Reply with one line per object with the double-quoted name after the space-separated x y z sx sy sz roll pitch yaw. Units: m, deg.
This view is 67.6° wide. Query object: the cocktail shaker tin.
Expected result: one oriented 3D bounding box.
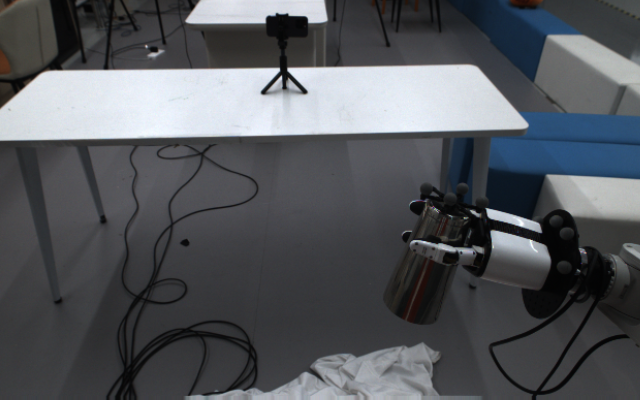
0.164 0.081 0.709 0.093 0.170 0.093 12 25 -6 "cocktail shaker tin"
